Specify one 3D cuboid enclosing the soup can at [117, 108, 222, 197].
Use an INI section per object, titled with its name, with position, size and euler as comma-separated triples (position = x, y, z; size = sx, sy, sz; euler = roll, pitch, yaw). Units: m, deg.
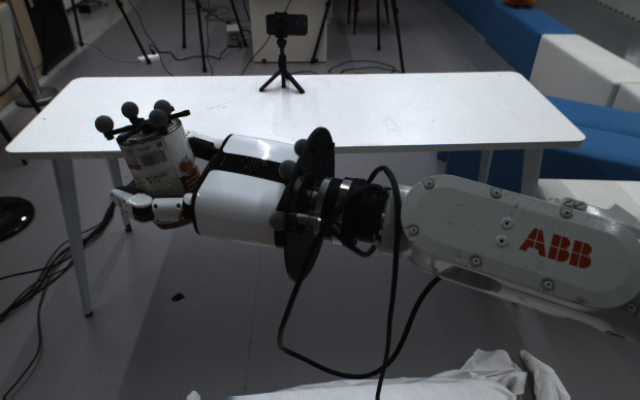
[soup can]
position = -0.161, -0.028, 0.514
size = 0.067, 0.101, 0.067
euler = -11, 27, 6
